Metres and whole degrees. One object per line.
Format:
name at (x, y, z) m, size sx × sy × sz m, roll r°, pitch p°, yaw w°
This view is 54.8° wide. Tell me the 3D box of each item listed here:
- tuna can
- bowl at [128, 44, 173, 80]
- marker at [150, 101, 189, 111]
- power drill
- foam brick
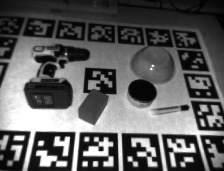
tuna can at (0.088, 0.010, 0.660) m, size 0.086 × 0.034 × 0.085 m, roll 6°, pitch 55°, yaw -7°
bowl at (0.136, -0.094, 0.739) m, size 0.162 × 0.055 × 0.161 m, roll 3°, pitch 49°, yaw -3°
marker at (0.174, 0.061, 0.646) m, size 0.122 × 0.020 × 0.019 m, roll -6°, pitch 58°, yaw -13°
power drill at (-0.170, -0.047, 0.651) m, size 0.185 × 0.057 × 0.186 m, roll 4°, pitch 53°, yaw -10°
foam brick at (-0.054, 0.053, 0.606) m, size 0.051 × 0.053 × 0.078 m, roll 23°, pitch 57°, yaw 7°
